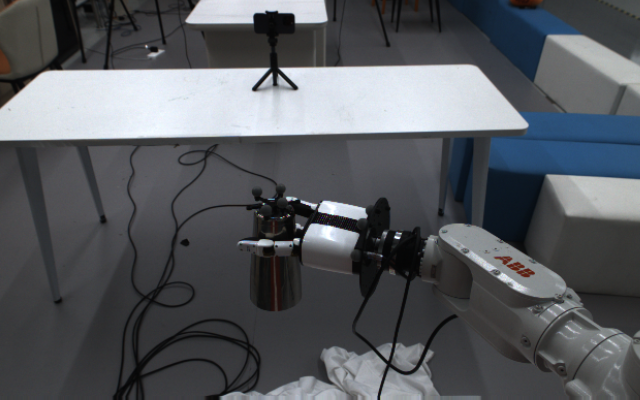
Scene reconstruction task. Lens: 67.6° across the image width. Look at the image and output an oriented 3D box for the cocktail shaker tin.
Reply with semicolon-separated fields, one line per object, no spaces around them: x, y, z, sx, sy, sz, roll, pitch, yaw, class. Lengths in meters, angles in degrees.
-0.074;0.087;0.818;0.093;0.170;0.093;1;27;-1;cocktail shaker tin
